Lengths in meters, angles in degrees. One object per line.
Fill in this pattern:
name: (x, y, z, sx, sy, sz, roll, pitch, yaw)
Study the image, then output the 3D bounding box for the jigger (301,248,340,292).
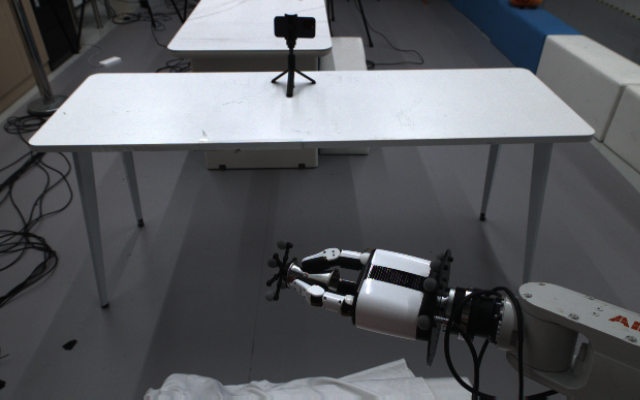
jigger: (-0.005, 0.113, 0.716, 0.071, 0.043, 0.043, 10, 35, 22)
